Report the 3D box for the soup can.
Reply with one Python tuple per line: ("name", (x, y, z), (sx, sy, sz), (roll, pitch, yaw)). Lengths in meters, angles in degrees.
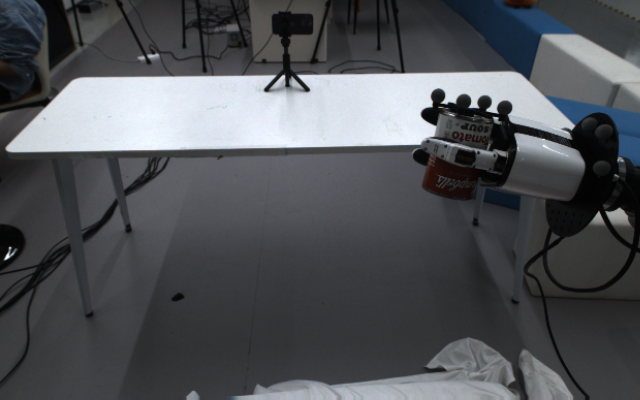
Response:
("soup can", (0.174, -0.059, 0.611), (0.067, 0.101, 0.067), (9, 19, -3))
